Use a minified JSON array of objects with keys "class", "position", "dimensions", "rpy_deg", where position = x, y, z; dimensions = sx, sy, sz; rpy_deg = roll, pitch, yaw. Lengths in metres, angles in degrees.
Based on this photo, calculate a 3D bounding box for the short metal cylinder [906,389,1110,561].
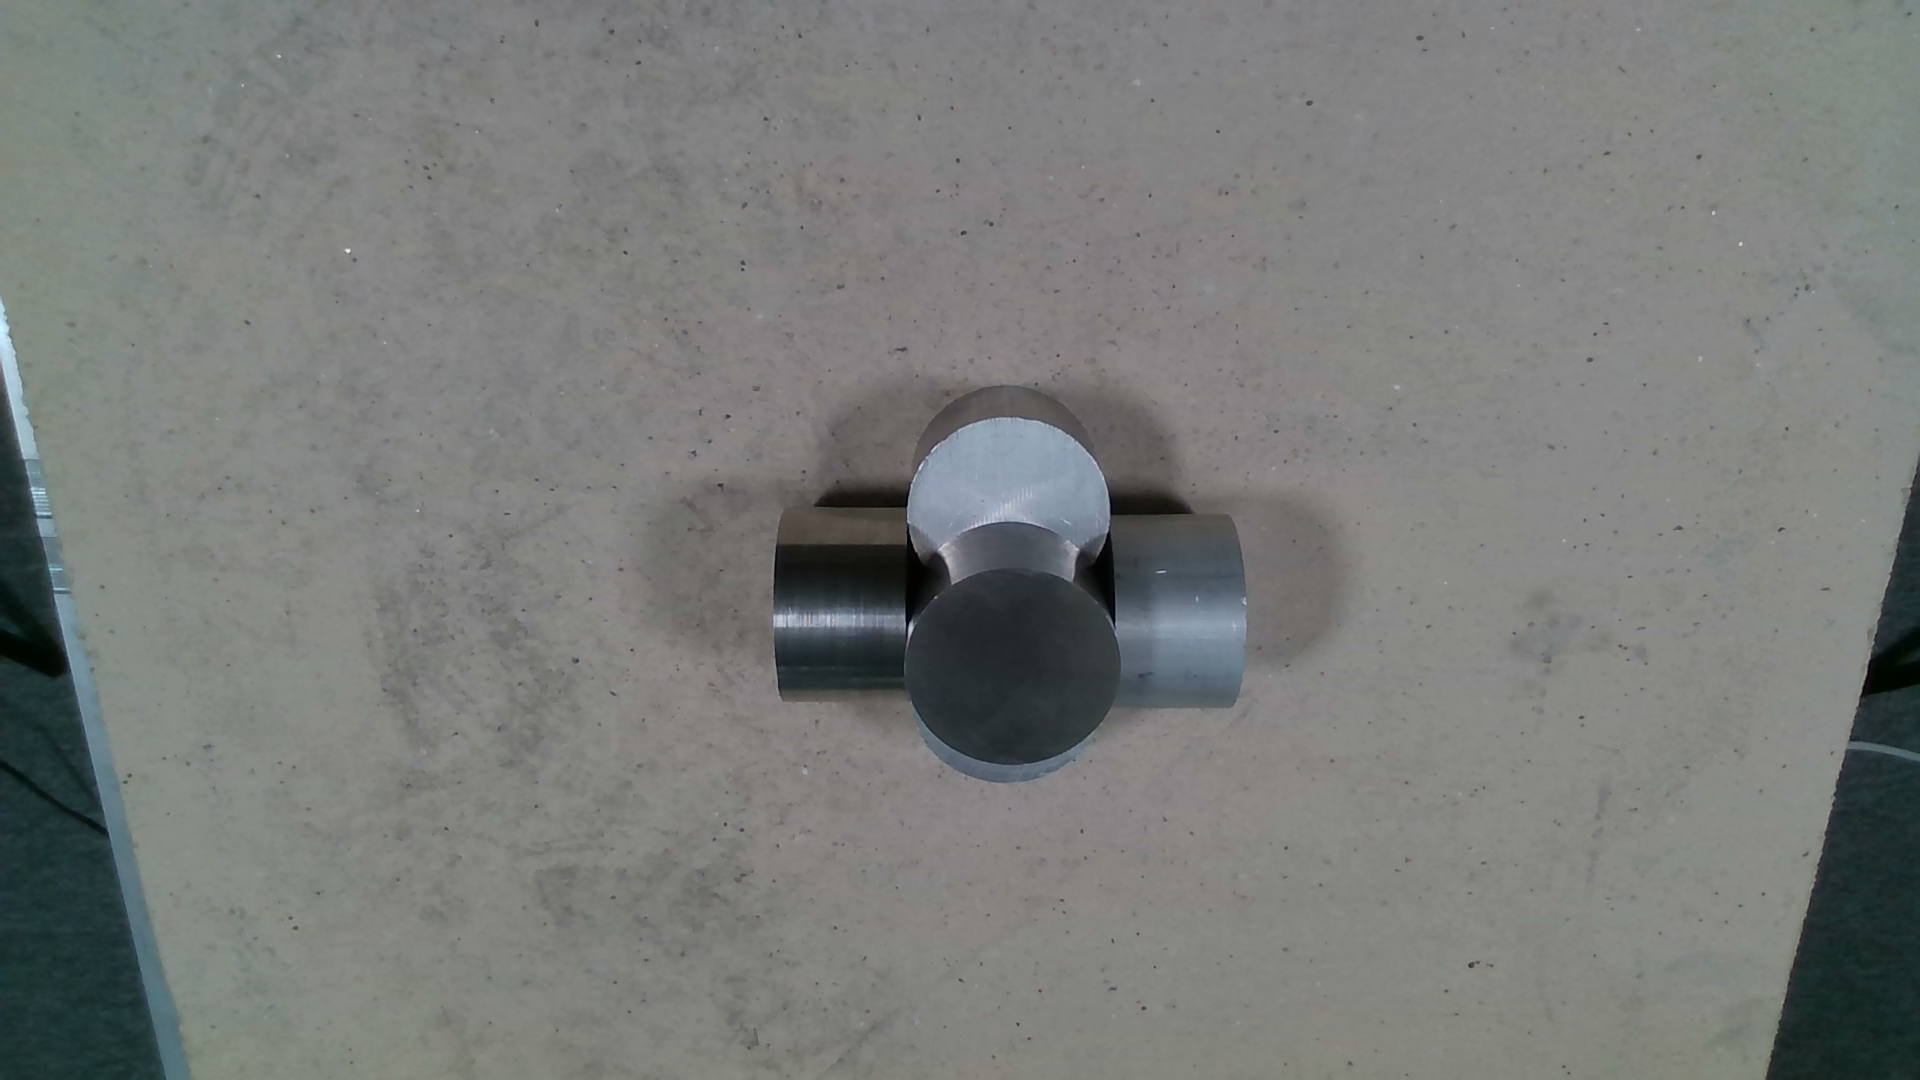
[{"class":"short metal cylinder","position":[0.019,-0.019,0.564],"dimensions":[0.080,0.050,0.080],"rpy_deg":[0,110,0]}]

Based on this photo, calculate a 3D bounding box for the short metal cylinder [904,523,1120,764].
[{"class":"short metal cylinder","position":[0.019,0.039,0.532],"dimensions":[0.080,0.050,0.080],"rpy_deg":[0,110,0]}]

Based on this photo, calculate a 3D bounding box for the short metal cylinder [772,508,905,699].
[{"class":"short metal cylinder","position":[-0.047,0.026,0.565],"dimensions":[0.050,0.080,0.080],"rpy_deg":[0,110,0]}]

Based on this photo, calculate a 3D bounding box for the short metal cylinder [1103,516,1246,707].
[{"class":"short metal cylinder","position":[0.085,0.029,0.567],"dimensions":[0.050,0.080,0.080],"rpy_deg":[0,110,0]}]

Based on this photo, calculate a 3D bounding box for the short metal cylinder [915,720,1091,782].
[{"class":"short metal cylinder","position":[0.020,0.056,0.592],"dimensions":[0.080,0.050,0.080],"rpy_deg":[0,110,0]}]
